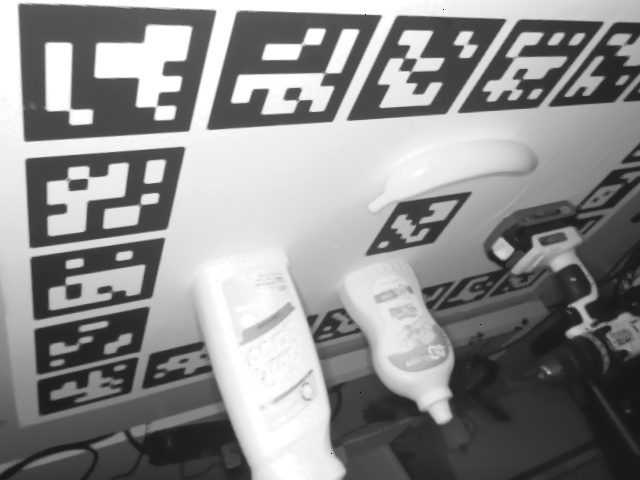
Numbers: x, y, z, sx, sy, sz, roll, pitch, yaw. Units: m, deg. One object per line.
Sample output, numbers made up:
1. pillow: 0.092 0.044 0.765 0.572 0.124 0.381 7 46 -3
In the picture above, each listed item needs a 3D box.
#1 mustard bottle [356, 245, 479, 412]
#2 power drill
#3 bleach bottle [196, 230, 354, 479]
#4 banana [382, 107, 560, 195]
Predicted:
1. mustard bottle: 0.116 0.096 0.750 0.097 0.191 0.058 -12 145 -18
2. power drill: 0.309 0.065 0.785 0.187 0.187 0.056 -15 147 -24
3. bleach bottle: -0.028 0.106 0.601 0.104 0.251 0.067 -2 141 -32
4. banana: 0.150 -0.088 0.633 0.200 0.039 0.073 -14 144 -24
